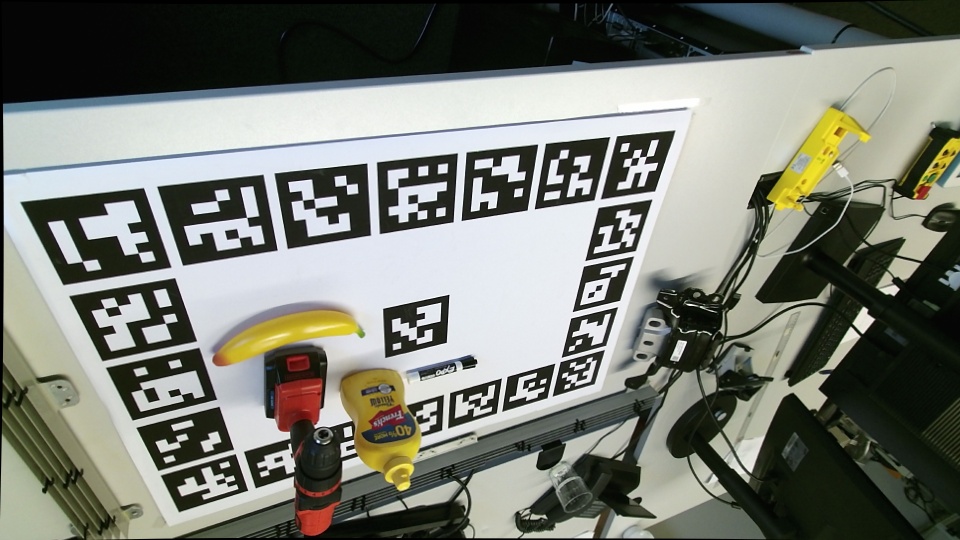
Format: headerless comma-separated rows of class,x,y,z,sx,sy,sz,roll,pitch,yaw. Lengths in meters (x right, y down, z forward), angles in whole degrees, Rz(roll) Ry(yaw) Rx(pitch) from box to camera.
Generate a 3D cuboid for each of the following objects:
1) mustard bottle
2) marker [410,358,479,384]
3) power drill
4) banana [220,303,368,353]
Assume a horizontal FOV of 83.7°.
mustard bottle,-0.139,0.231,0.798,0.096,0.191,0.058,-1,122,-27
marker,-0.059,0.171,0.913,0.121,0.019,0.019,-9,125,-23
power drill,-0.224,0.205,0.710,0.057,0.186,0.184,2,124,-28
banana,-0.248,0.080,0.736,0.198,0.039,0.074,-5,123,-28
